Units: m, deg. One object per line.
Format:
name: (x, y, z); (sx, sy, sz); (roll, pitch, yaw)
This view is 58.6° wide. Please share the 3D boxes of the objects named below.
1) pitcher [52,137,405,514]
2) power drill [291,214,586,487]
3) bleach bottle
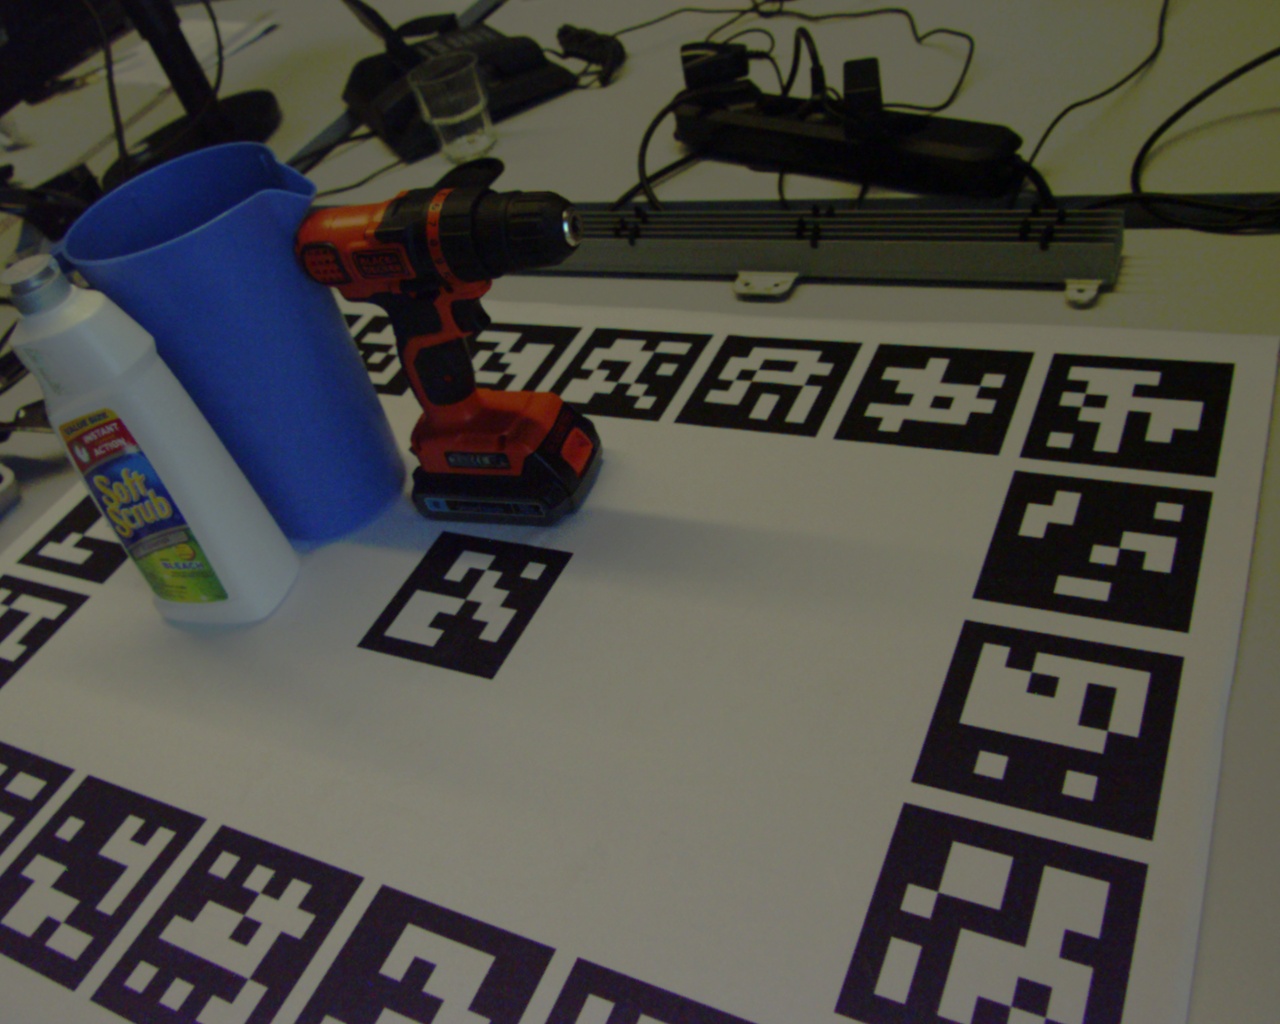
pitcher: (-0.264, -0.111, 0.767); (0.189, 0.240, 0.134); (-13, 44, 9)
power drill: (-0.106, -0.097, 0.704); (0.186, 0.185, 0.057); (7, 52, 20)
bleach bottle: (-0.319, -0.054, 0.701); (0.104, 0.248, 0.068); (1, 47, 23)
